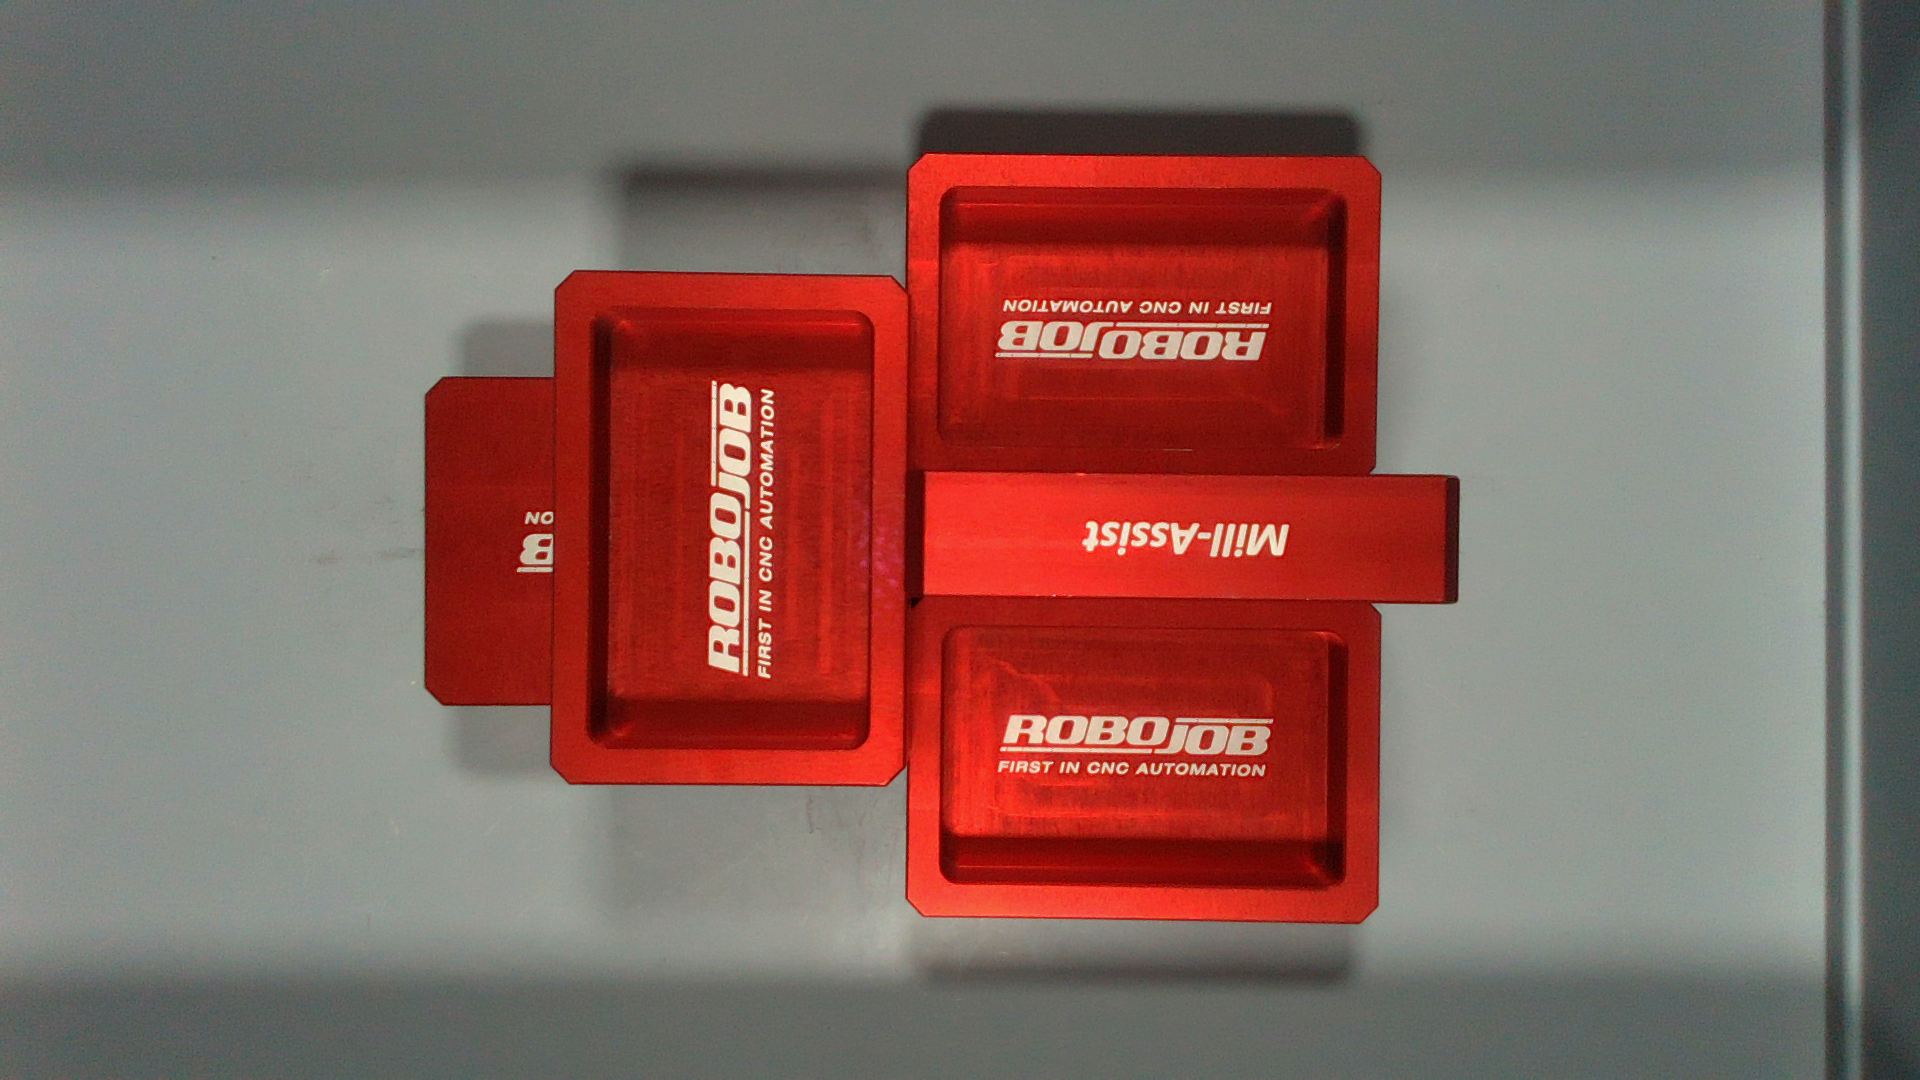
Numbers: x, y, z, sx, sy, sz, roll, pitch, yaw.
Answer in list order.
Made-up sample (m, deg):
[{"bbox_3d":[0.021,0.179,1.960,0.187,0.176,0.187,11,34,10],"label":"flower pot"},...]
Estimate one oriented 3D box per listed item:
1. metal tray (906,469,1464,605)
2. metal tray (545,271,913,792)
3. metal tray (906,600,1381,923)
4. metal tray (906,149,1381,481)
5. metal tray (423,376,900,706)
[{"bbox_3d":[0.053,-0.001,0.361,0.130,0.090,0.030,1,90,0],"label":"metal tray"},{"bbox_3d":[-0.059,-0.002,0.361,0.090,0.030,0.130,1,90,0],"label":"metal tray"},{"bbox_3d":[0.050,0.060,0.392,0.130,0.030,0.090,1,90,0],"label":"metal tray"},{"bbox_3d":[0.050,-0.062,0.392,0.130,0.030,0.090,1,90,0],"label":"metal tray"},{"bbox_3d":[-0.081,0.000,0.390,0.130,0.030,0.090,0,90,0],"label":"metal tray"}]
